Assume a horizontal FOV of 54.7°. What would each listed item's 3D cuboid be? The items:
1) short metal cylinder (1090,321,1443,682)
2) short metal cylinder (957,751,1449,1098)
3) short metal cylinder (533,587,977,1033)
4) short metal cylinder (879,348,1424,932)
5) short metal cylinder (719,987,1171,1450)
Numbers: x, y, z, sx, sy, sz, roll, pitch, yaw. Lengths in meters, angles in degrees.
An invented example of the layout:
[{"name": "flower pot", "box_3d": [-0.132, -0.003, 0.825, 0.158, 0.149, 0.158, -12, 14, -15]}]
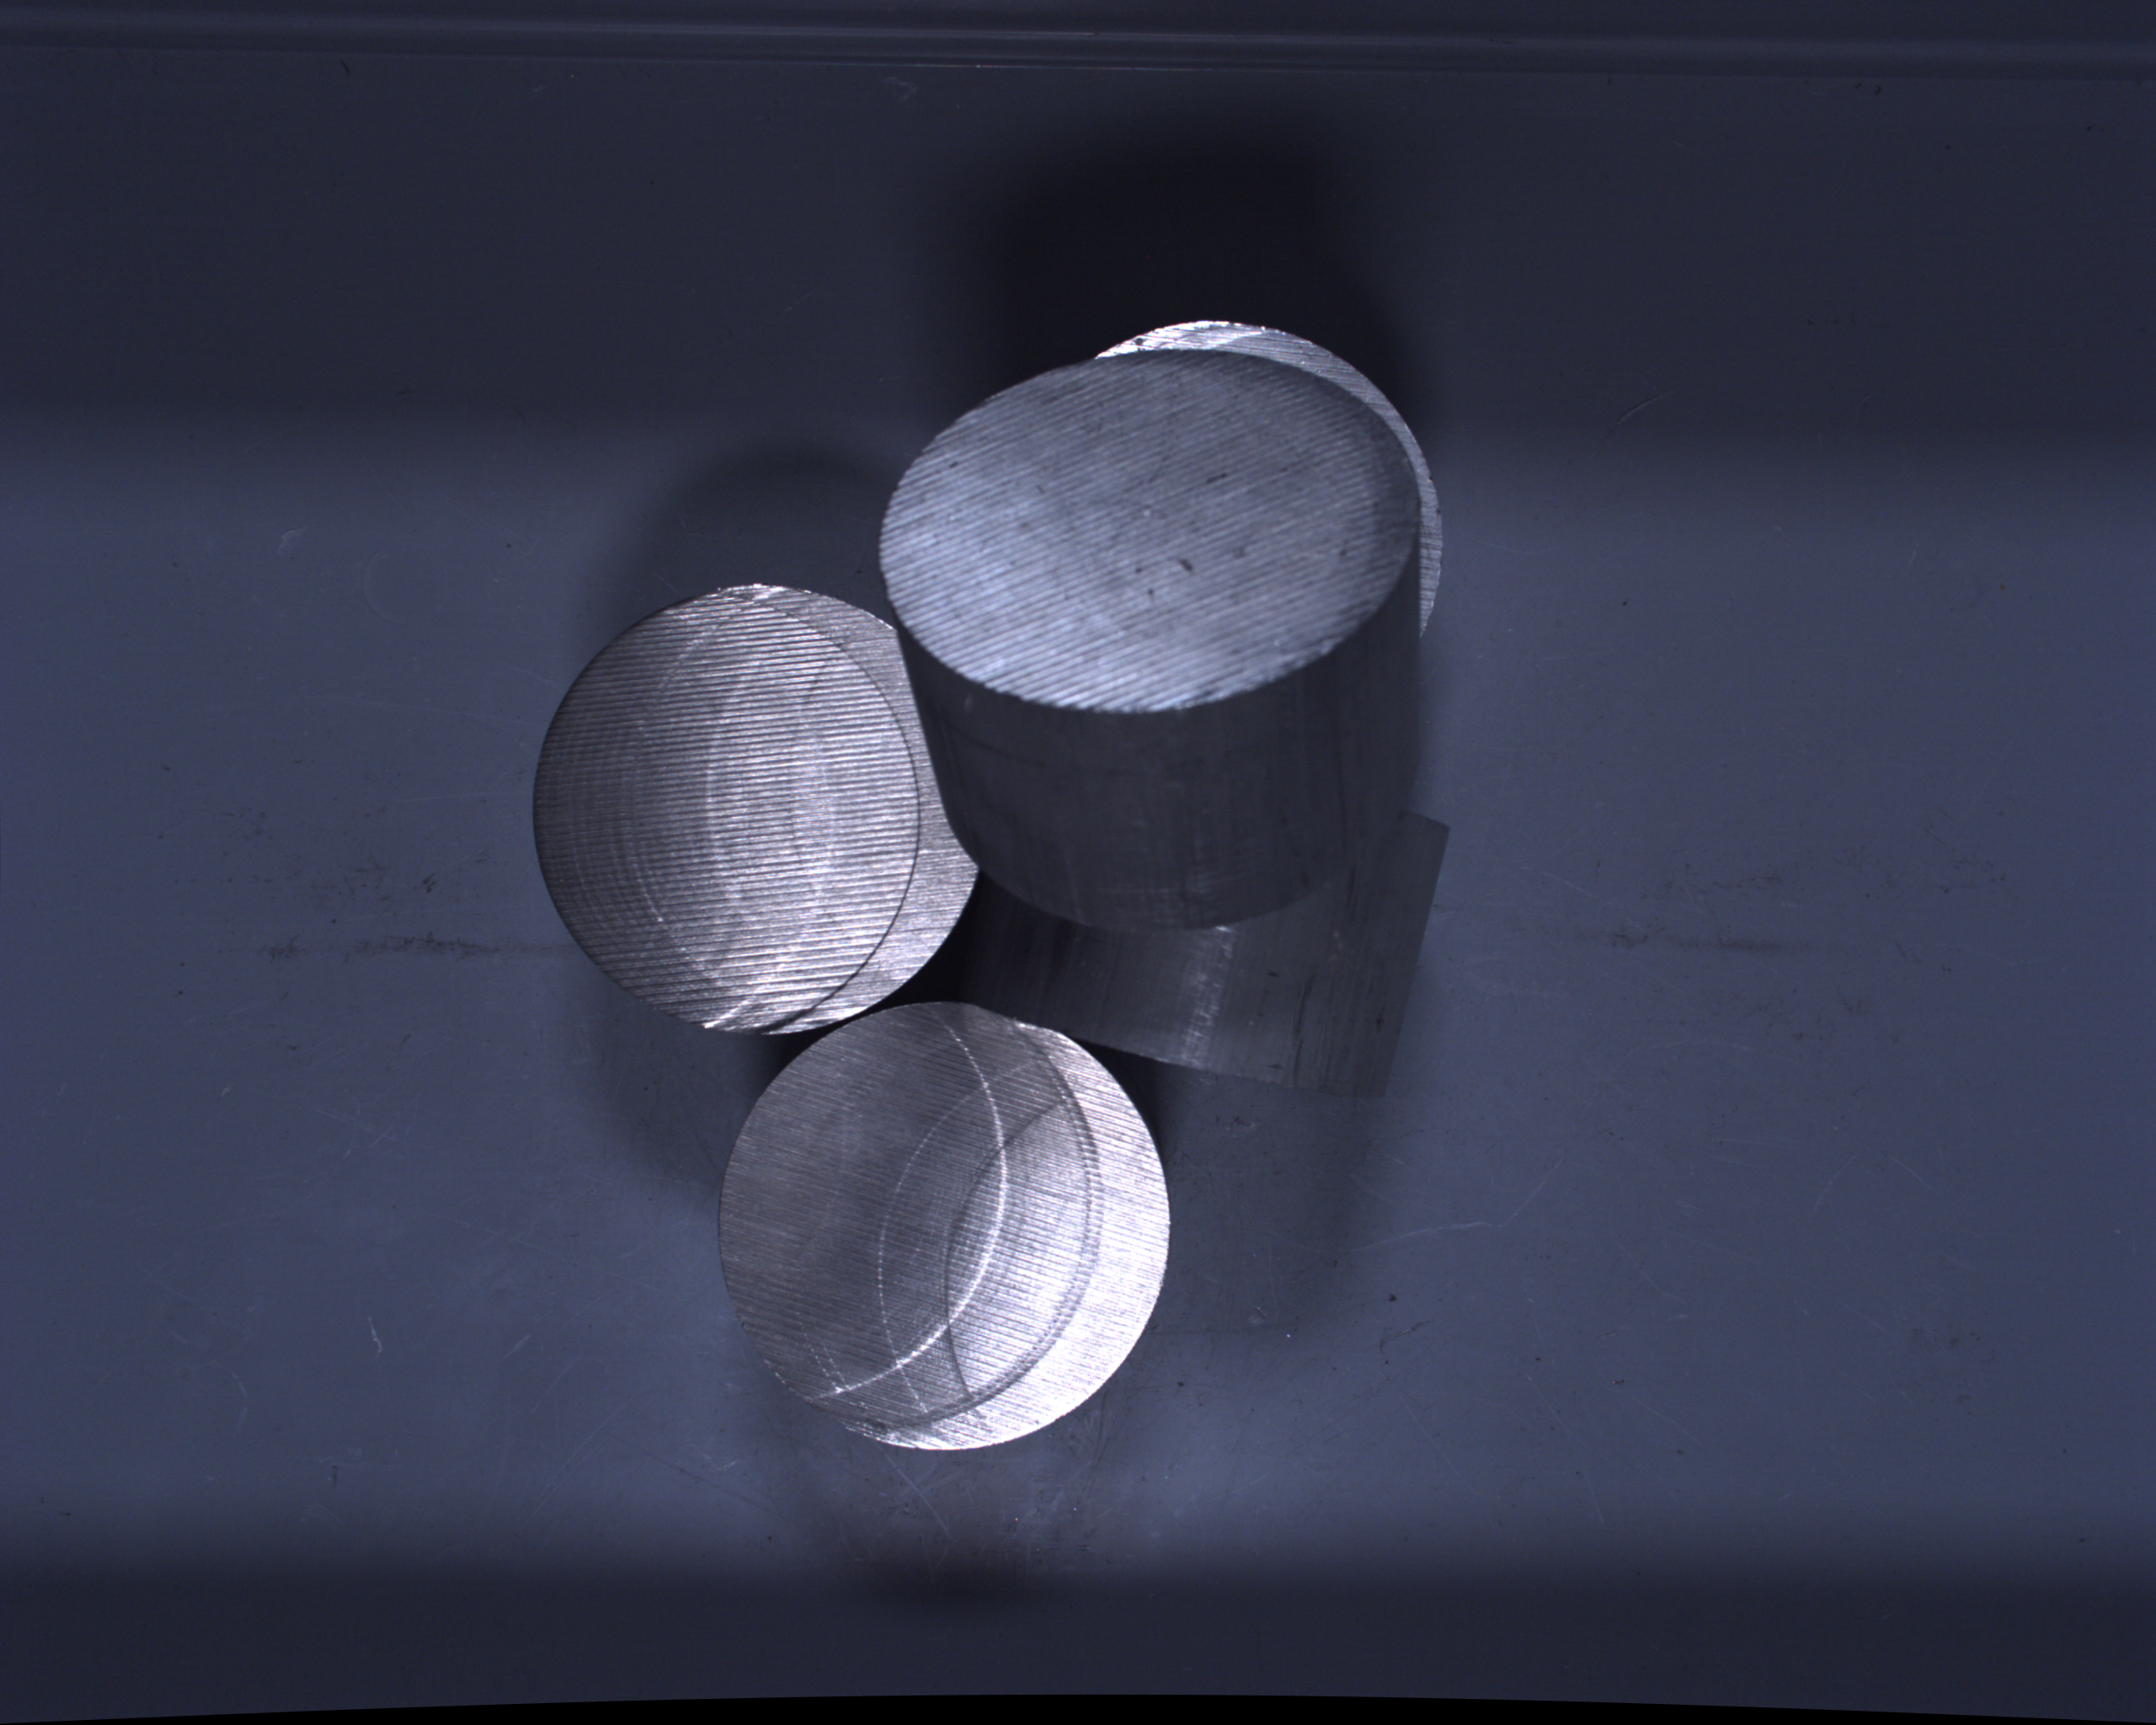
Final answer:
[{"name": "short metal cylinder", "box_3d": [0.025, -0.057, 0.398, 0.081, 0.050, 0.079, 0, 90, -1]}, {"name": "short metal cylinder", "box_3d": [0.023, 0.009, 0.383, 0.080, 0.080, 0.050, 13, 90, -1]}, {"name": "short metal cylinder", "box_3d": [-0.057, -0.010, 0.396, 0.081, 0.050, 0.079, 0, 90, -1]}, {"name": "short metal cylinder", "box_3d": [0.013, -0.036, 0.327, 0.080, 0.050, 0.080, -4, 50, 5]}, {"name": "short metal cylinder", "box_3d": [-0.024, 0.065, 0.397, 0.081, 0.050, 0.079, 0, 90, -1]}]
